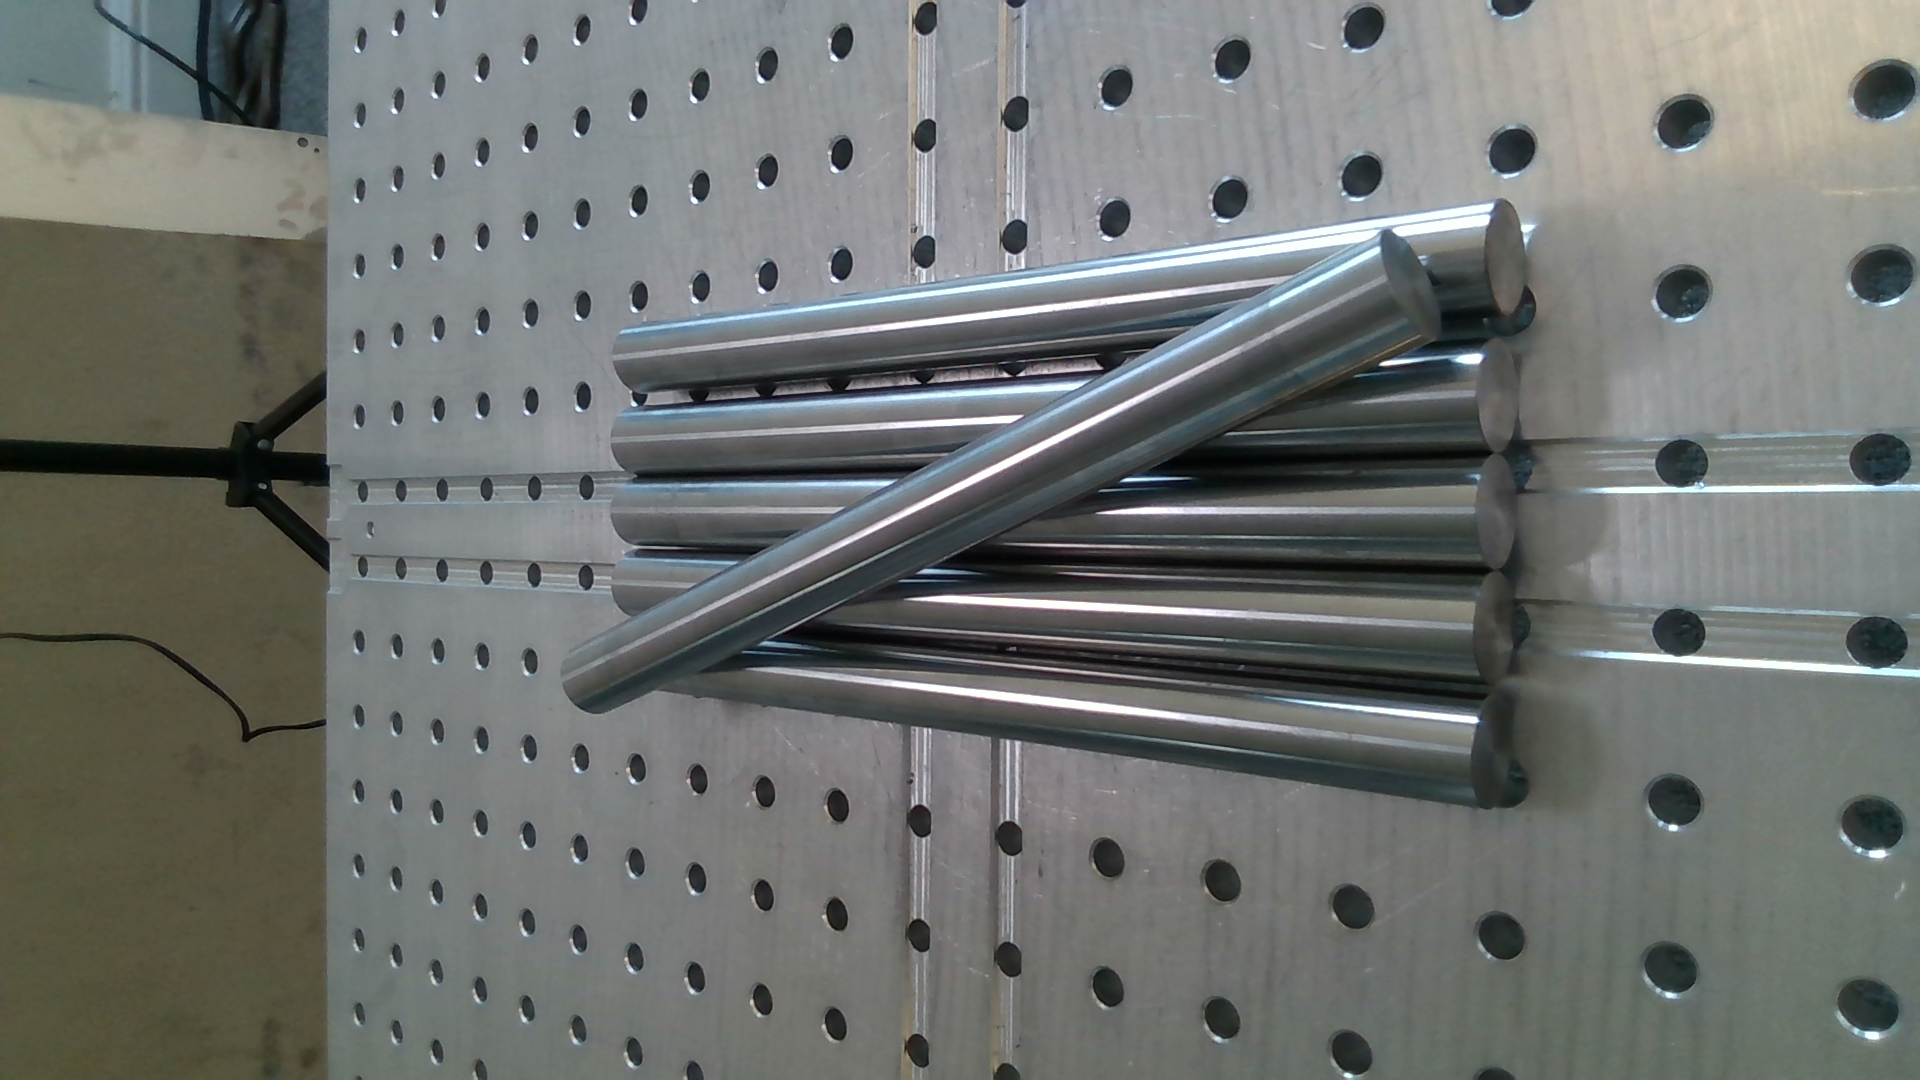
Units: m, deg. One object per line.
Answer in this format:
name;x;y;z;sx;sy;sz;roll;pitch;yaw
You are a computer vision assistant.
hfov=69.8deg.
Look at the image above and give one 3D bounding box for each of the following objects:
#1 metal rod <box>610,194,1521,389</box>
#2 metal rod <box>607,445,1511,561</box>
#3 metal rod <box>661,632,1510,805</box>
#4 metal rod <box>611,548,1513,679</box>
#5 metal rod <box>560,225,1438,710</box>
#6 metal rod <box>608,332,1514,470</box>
metal rod;0.001;-0.063;0.391;0.300;0.025;0.025;1;91;40
metal rod;0.000;-0.010;0.392;0.300;0.025;0.025;1;91;40
metal rod;0.000;0.042;0.394;0.300;0.025;0.025;1;91;40
metal rod;0.001;0.016;0.394;0.300;0.025;0.025;1;91;40
metal rod;-0.016;-0.004;0.374;0.300;0.025;0.025;-25;75;38
metal rod;0.000;-0.034;0.392;0.300;0.025;0.025;1;91;40
